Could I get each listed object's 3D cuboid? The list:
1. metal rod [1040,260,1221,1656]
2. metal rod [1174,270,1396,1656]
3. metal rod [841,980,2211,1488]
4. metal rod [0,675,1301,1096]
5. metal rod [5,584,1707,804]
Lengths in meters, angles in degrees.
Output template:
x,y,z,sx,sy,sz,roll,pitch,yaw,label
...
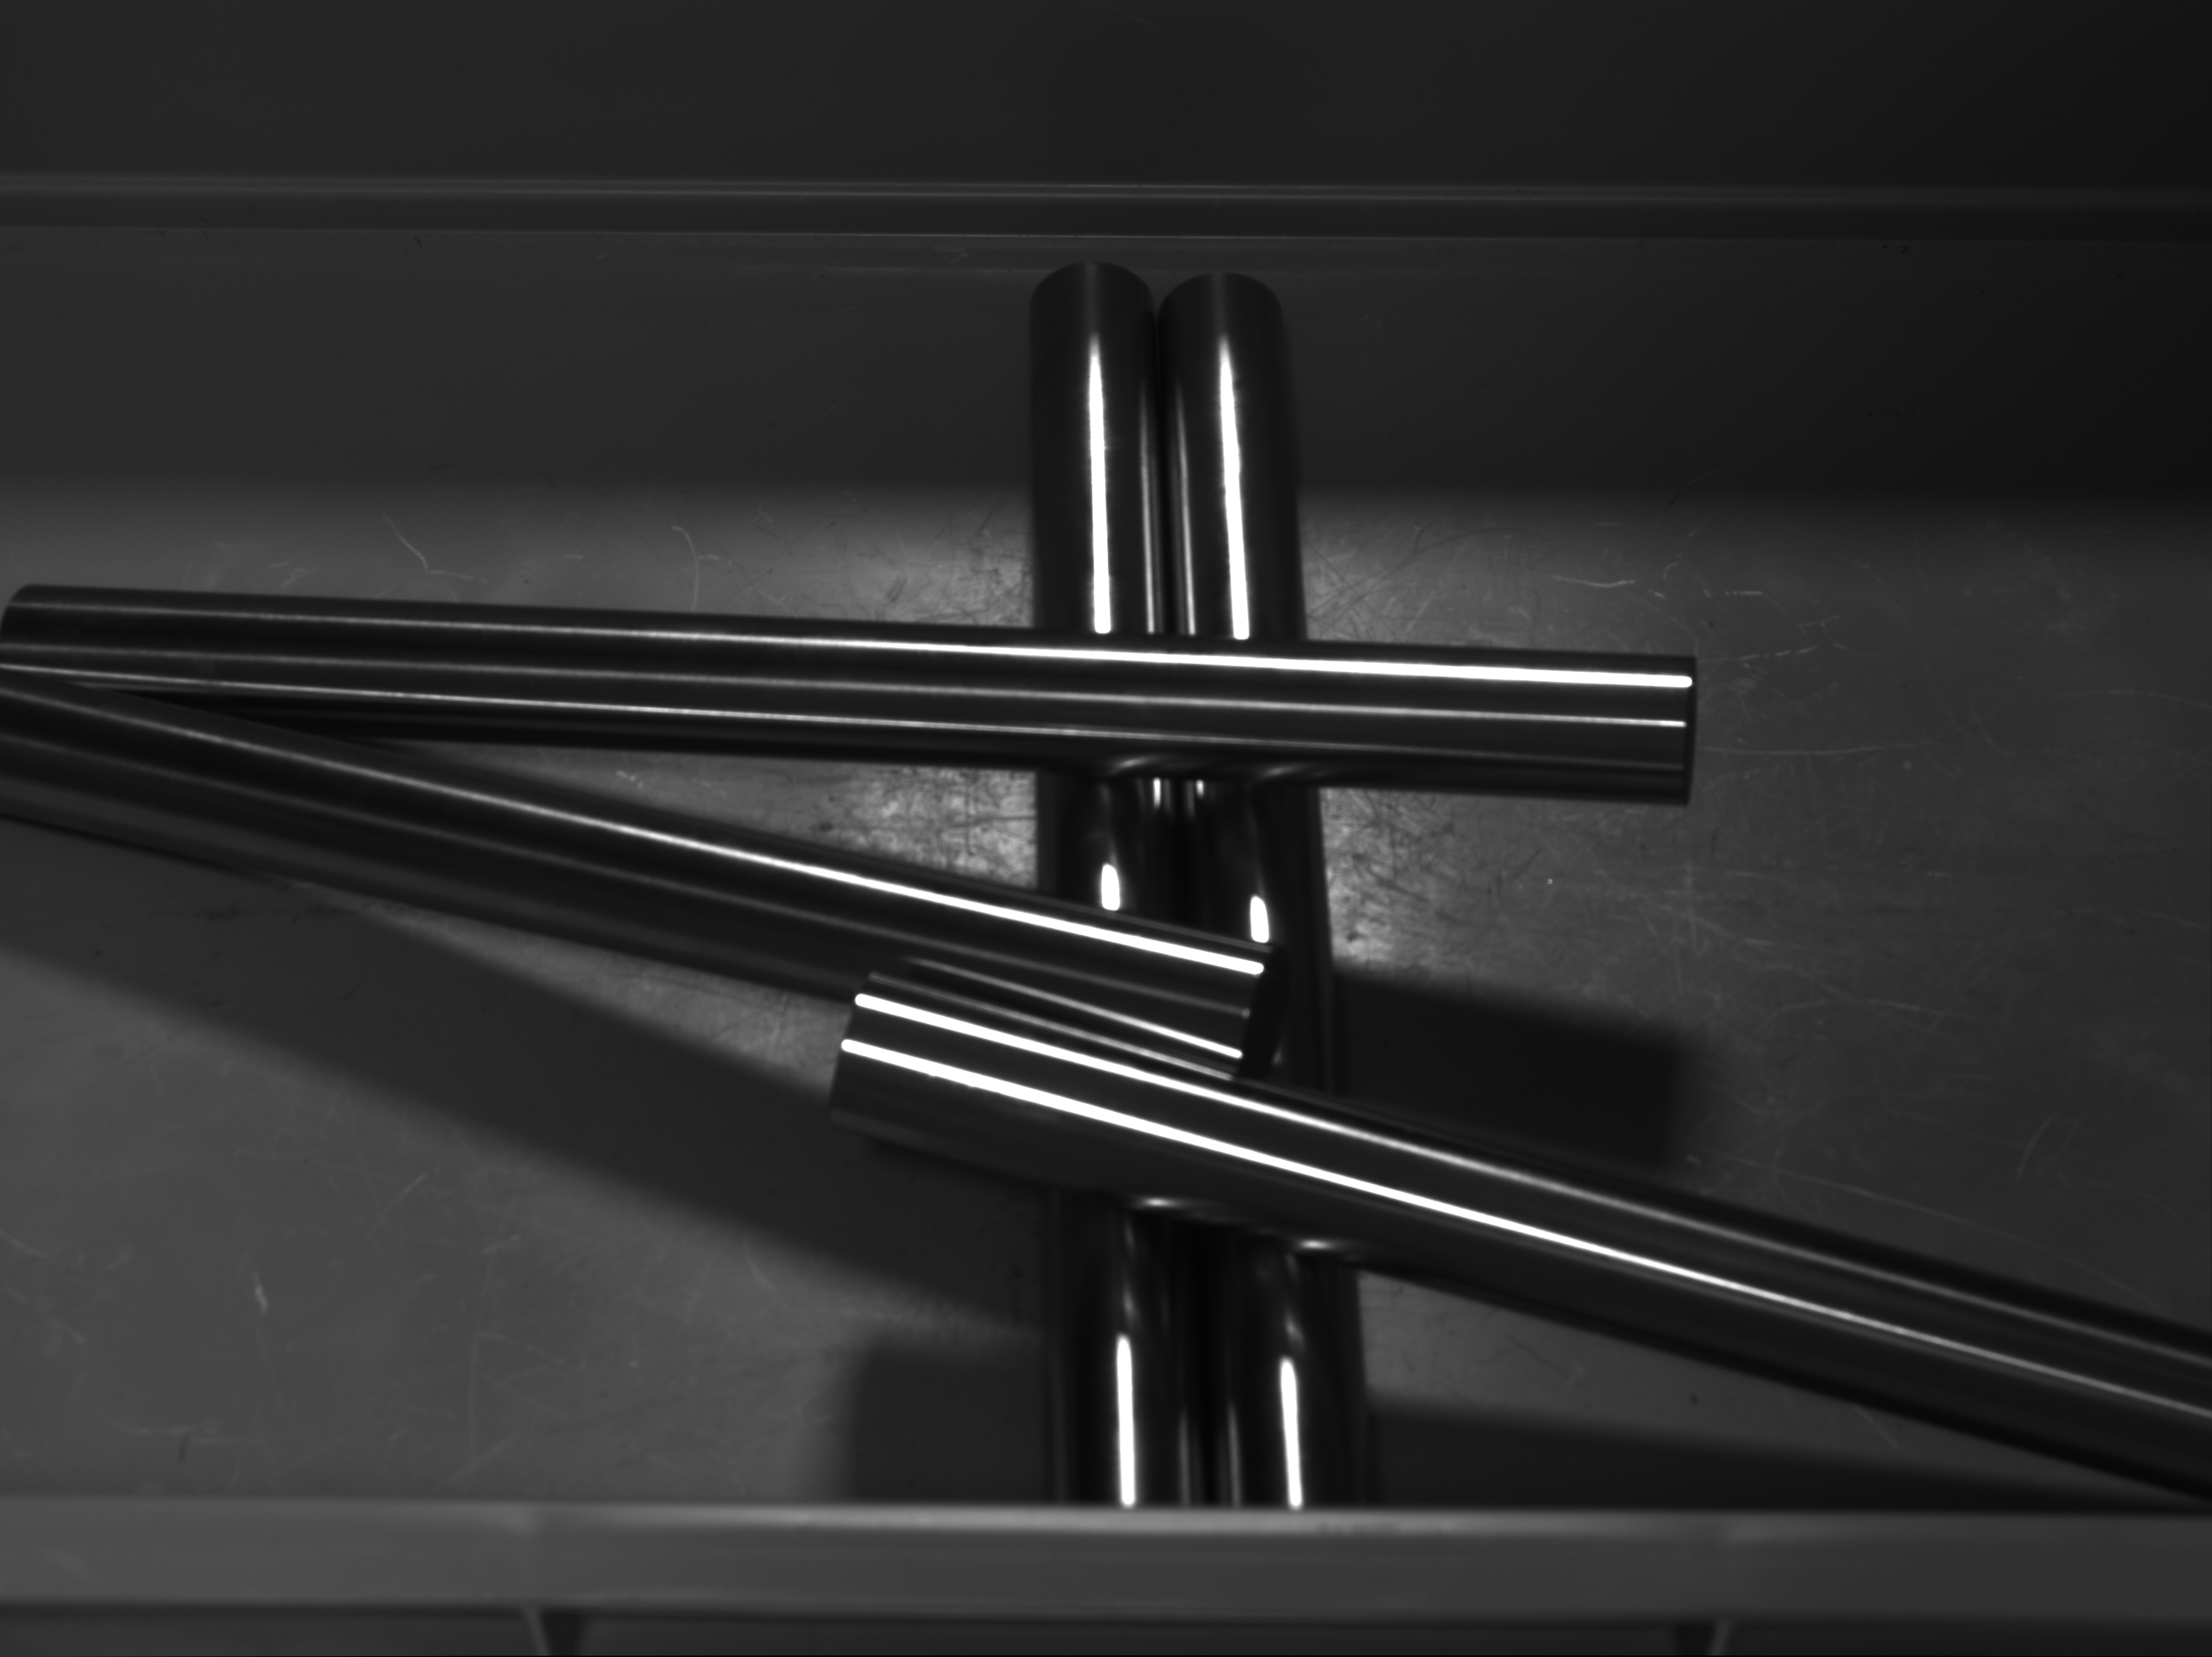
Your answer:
x,y,z,sx,sy,sz,roll,pitch,yaw,label
0.002,0.011,0.629,0.025,0.025,0.300,-1,50,-1,metal rod
0.028,0.014,0.627,0.025,0.025,0.300,-1,50,-1,metal rod
0.107,0.072,0.558,0.300,0.025,0.025,14,51,5,metal rod
-0.114,0.002,0.622,0.300,0.025,0.025,12,51,17,metal rod
-0.048,-0.024,0.636,0.300,0.025,0.025,3,49,12,metal rod
